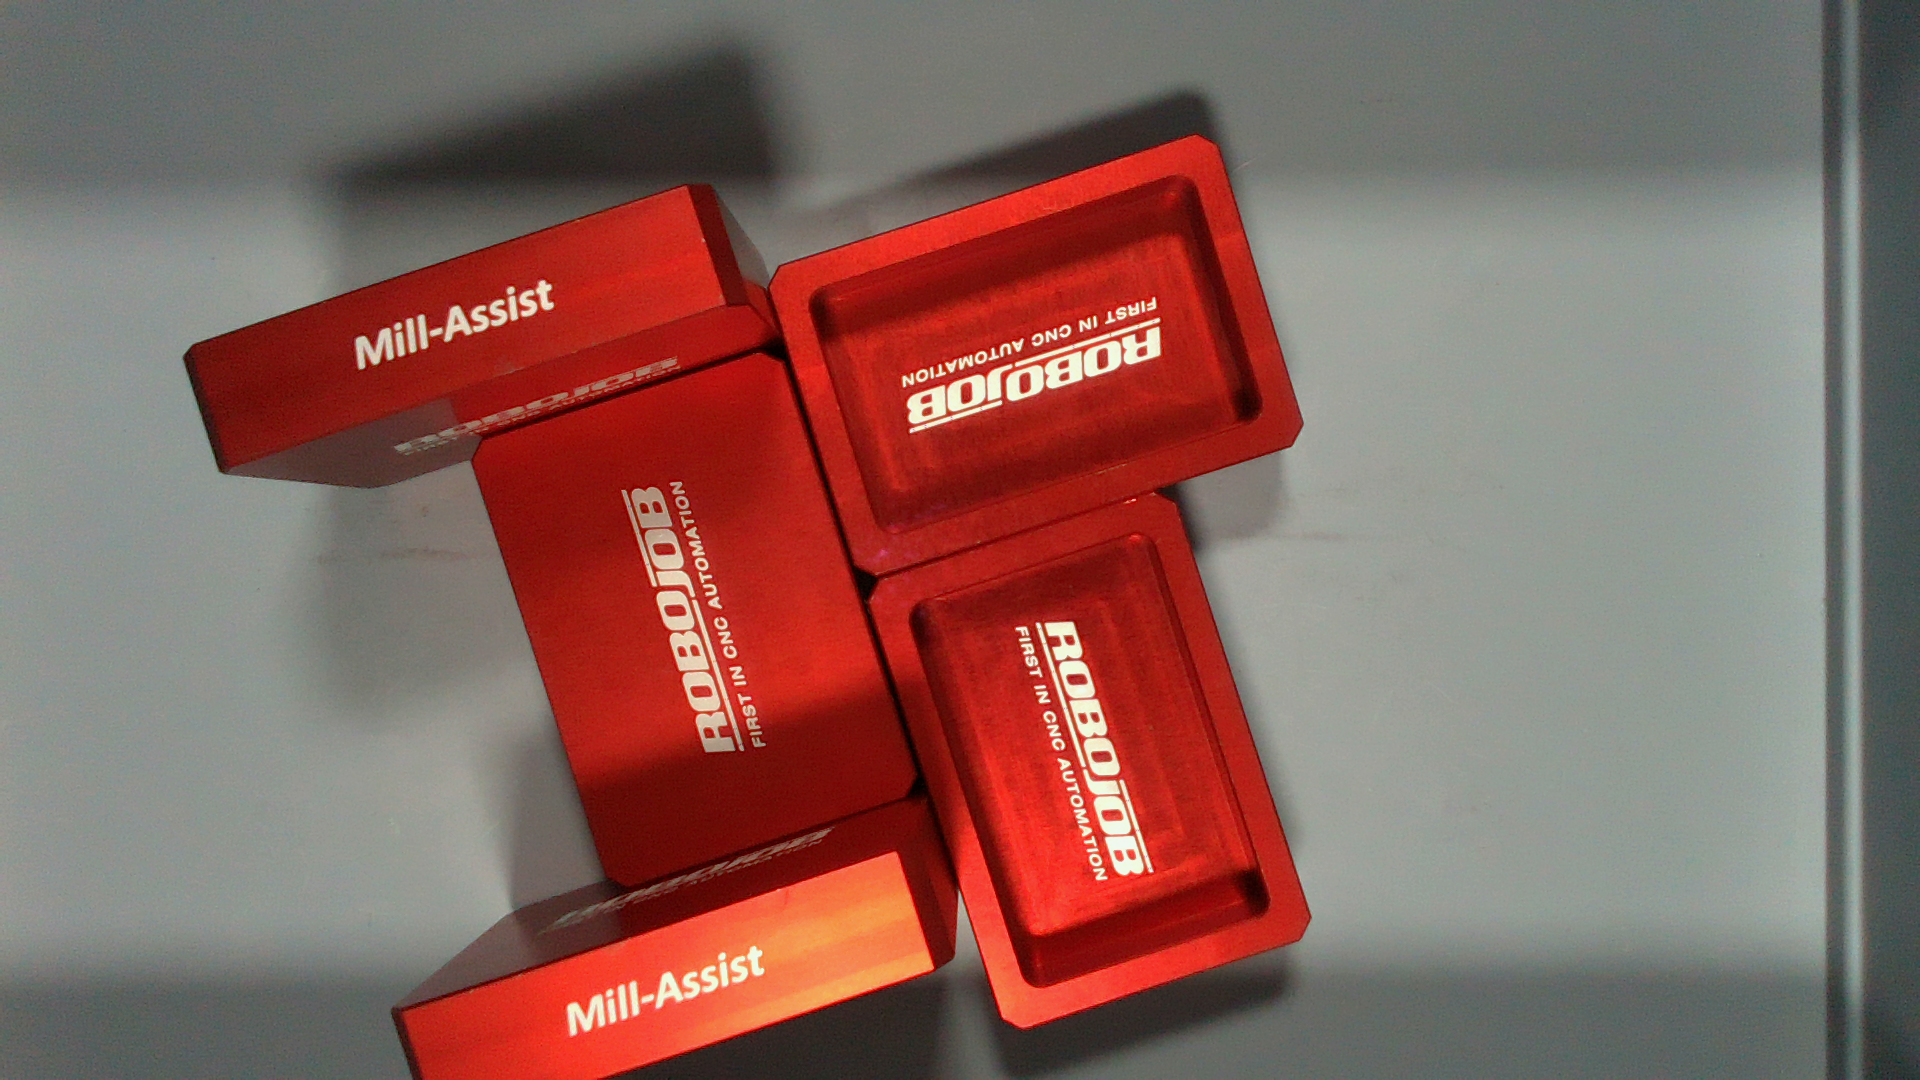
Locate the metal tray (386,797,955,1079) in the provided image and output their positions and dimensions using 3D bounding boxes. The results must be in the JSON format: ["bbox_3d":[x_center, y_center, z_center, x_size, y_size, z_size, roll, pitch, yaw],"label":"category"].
[{"bbox_3d":[-0.067,0.104,0.361,0.130,0.090,0.030,-17,90,0],"label":"metal tray"}]

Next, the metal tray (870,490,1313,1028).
[{"bbox_3d":[0.036,0.060,0.392,0.090,0.030,0.130,-17,90,0],"label":"metal tray"}]

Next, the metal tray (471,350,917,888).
[{"bbox_3d":[-0.073,0.022,0.390,0.090,0.030,0.130,-17,90,0],"label":"metal tray"}]

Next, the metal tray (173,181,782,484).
[{"bbox_3d":[-0.116,-0.049,0.359,0.130,0.090,0.030,-18,90,0],"label":"metal tray"}]

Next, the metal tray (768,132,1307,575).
[{"bbox_3d":[0.022,-0.051,0.391,0.130,0.030,0.090,-17,90,0],"label":"metal tray"}]
